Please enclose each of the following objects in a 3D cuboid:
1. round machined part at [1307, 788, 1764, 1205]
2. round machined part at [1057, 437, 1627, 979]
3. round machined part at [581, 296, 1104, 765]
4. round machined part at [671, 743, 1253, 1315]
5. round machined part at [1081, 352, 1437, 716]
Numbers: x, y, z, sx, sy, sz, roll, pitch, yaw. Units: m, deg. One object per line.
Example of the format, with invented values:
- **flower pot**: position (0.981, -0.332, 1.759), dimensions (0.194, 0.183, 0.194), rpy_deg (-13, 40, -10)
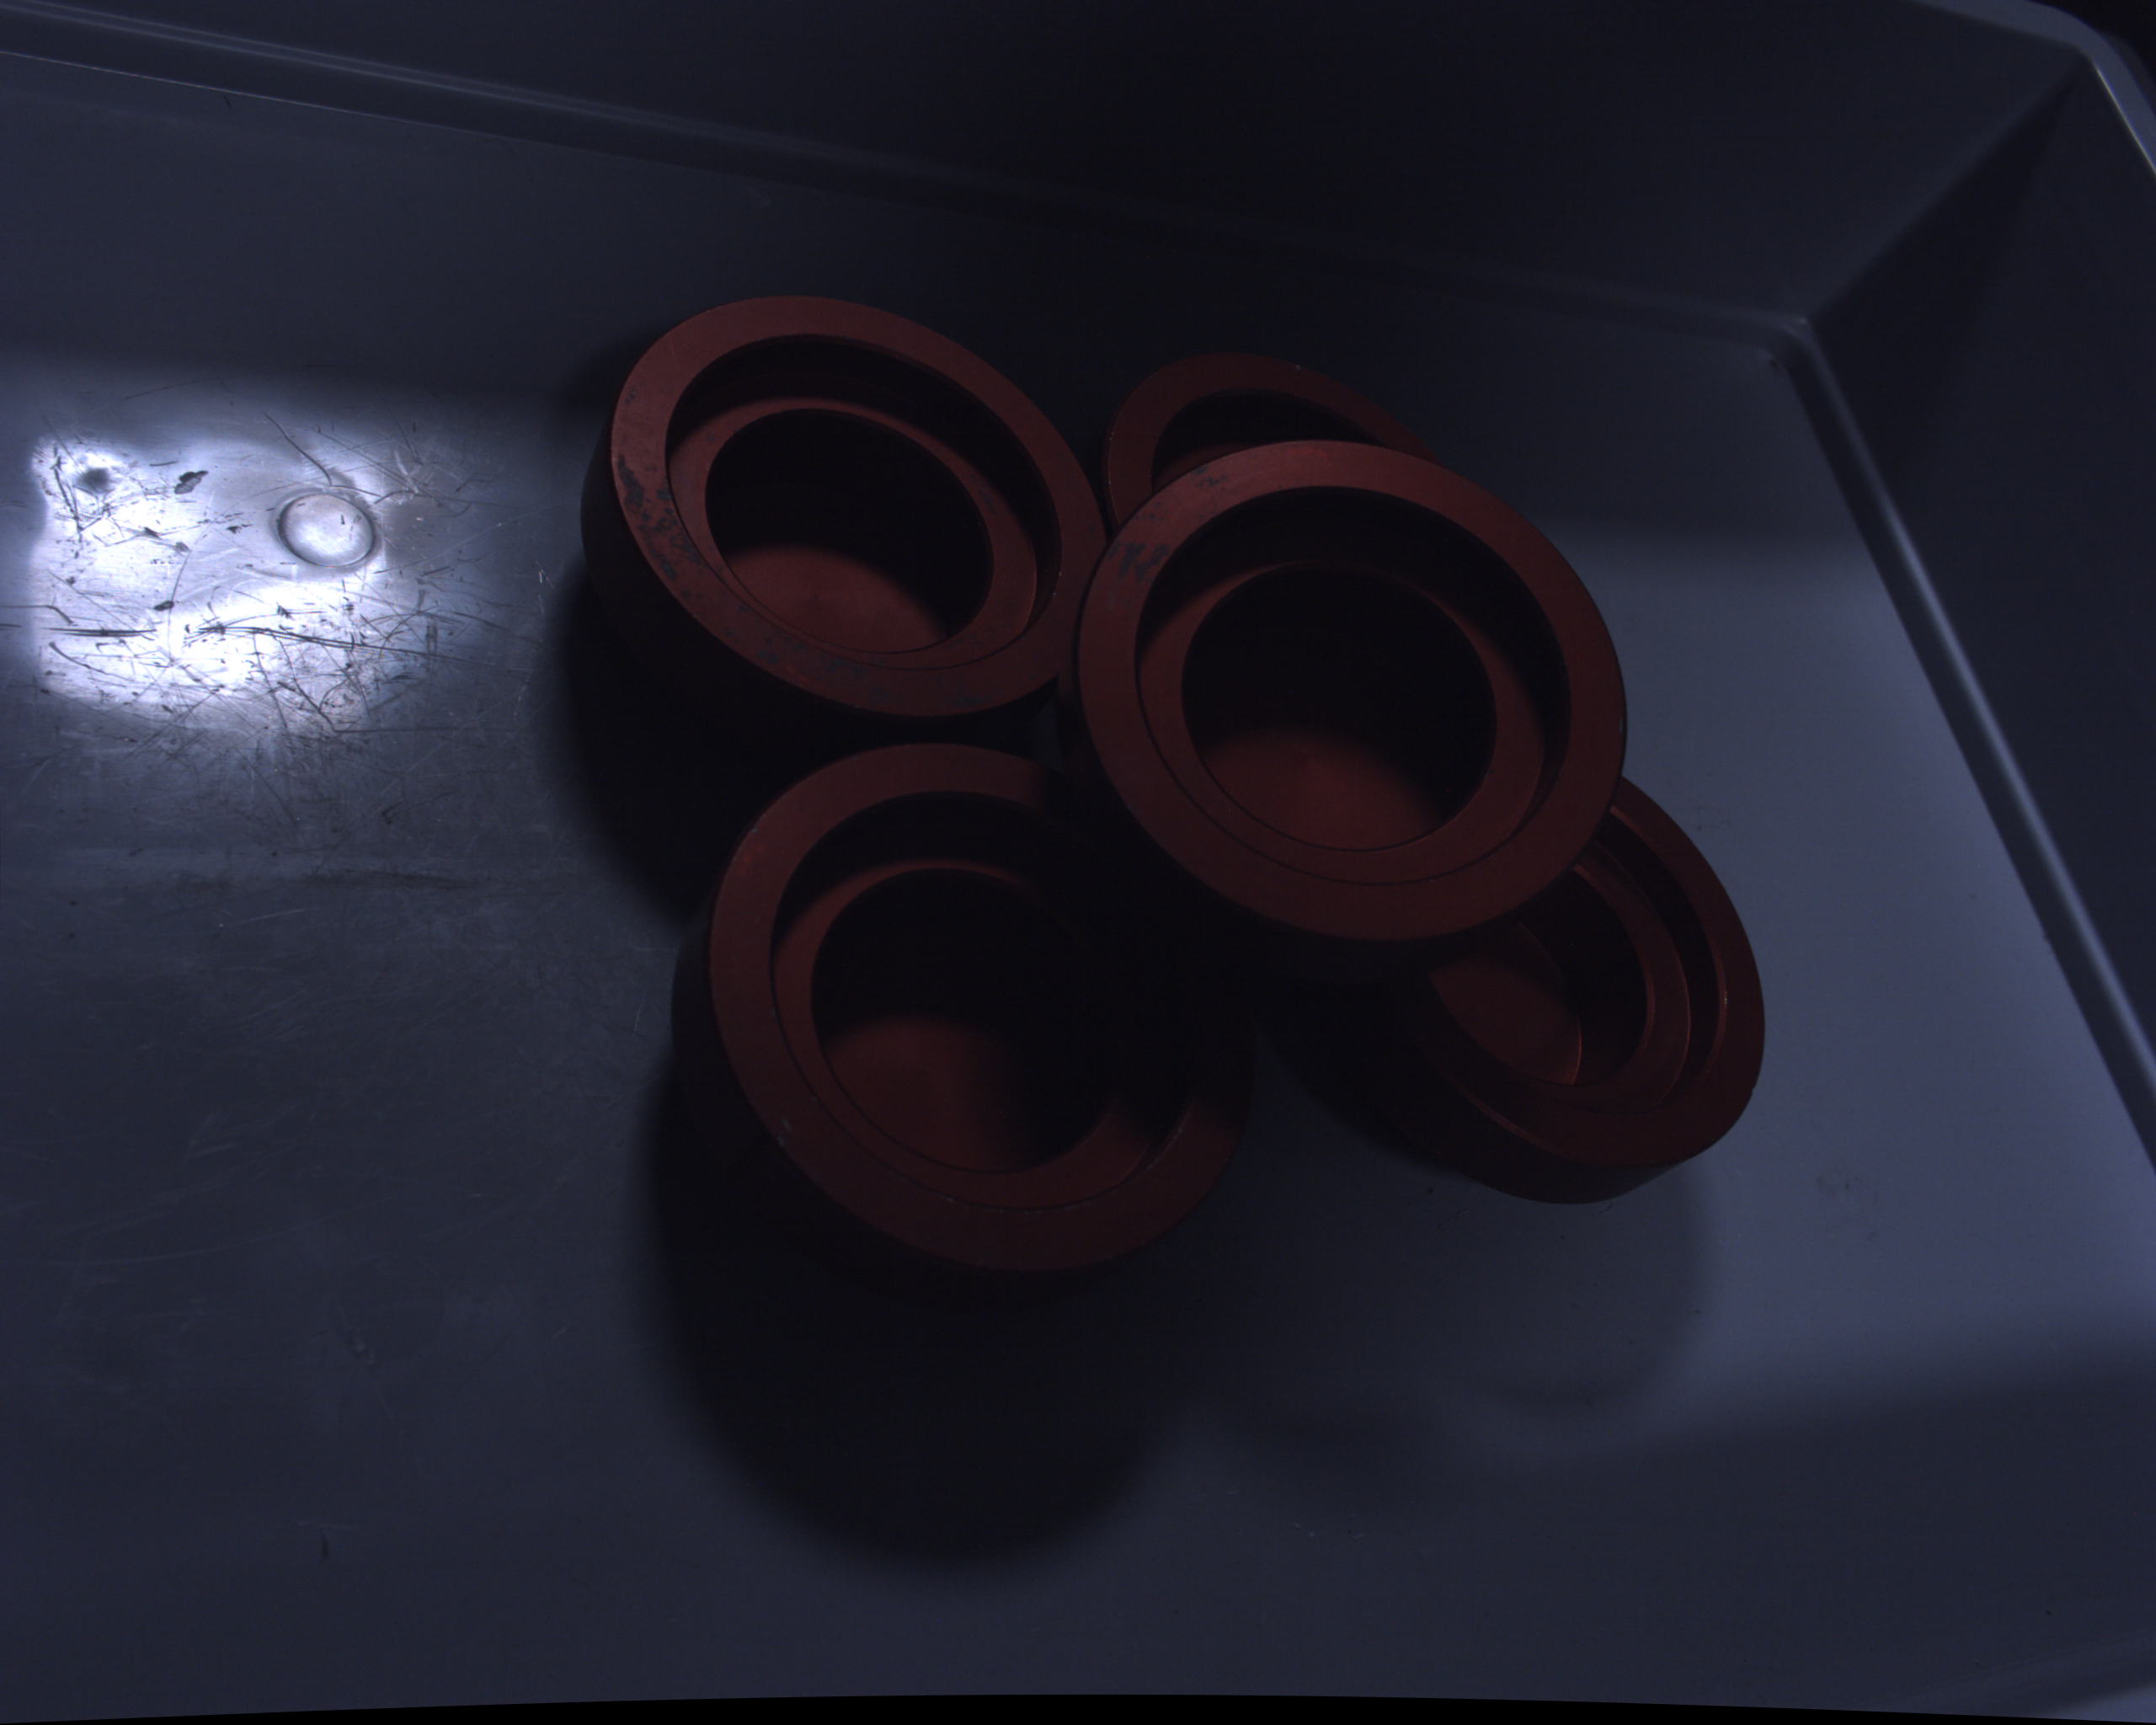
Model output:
- **round machined part**: position (0.087, 0.024, 0.427), dimensions (0.099, 0.042, 0.098), rpy_deg (14, 56, -21)
- **round machined part**: position (0.045, -0.025, 0.379), dimensions (0.099, 0.042, 0.098), rpy_deg (3, 68, -8)
- **round machined part**: position (-0.047, -0.058, 0.404), dimensions (0.099, 0.042, 0.098), rpy_deg (14, 56, -21)
- **round machined part**: position (-0.023, 0.031, 0.363), dimensions (0.099, 0.042, 0.098), rpy_deg (14, 56, -21)
- **round machined part**: position (0.041, -0.059, 0.453), dimensions (0.099, 0.042, 0.098), rpy_deg (14, 56, -21)
